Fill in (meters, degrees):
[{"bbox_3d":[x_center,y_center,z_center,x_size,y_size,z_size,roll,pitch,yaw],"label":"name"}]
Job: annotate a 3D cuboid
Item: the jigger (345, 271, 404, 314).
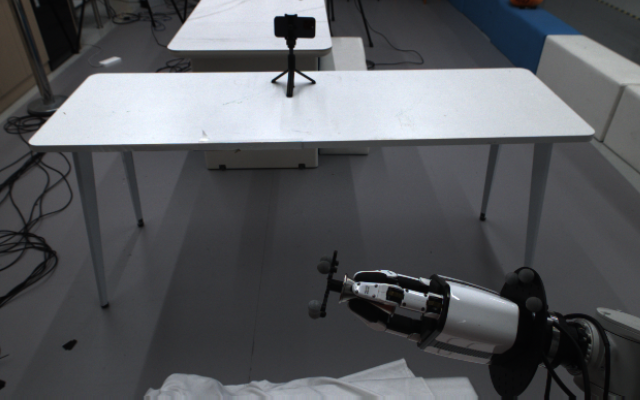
[{"bbox_3d":[0.068,0.114,0.607,0.071,0.043,0.043,13,36,4],"label":"jigger"}]
